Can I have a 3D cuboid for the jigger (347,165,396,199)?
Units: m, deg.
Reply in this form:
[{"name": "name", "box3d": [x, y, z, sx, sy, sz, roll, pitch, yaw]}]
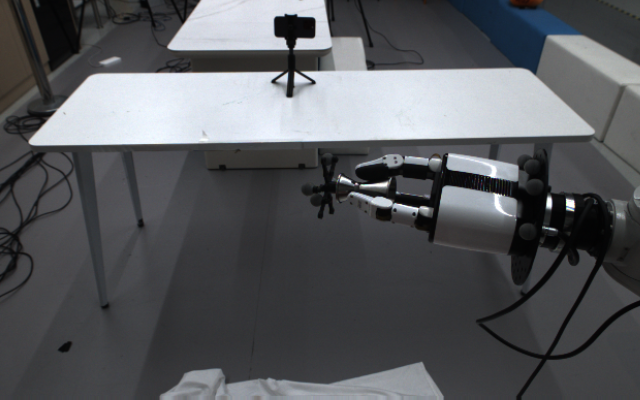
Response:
[{"name": "jigger", "box3d": [0.065, -0.018, 0.610, 0.071, 0.043, 0.043, 5, 34, 21]}]
